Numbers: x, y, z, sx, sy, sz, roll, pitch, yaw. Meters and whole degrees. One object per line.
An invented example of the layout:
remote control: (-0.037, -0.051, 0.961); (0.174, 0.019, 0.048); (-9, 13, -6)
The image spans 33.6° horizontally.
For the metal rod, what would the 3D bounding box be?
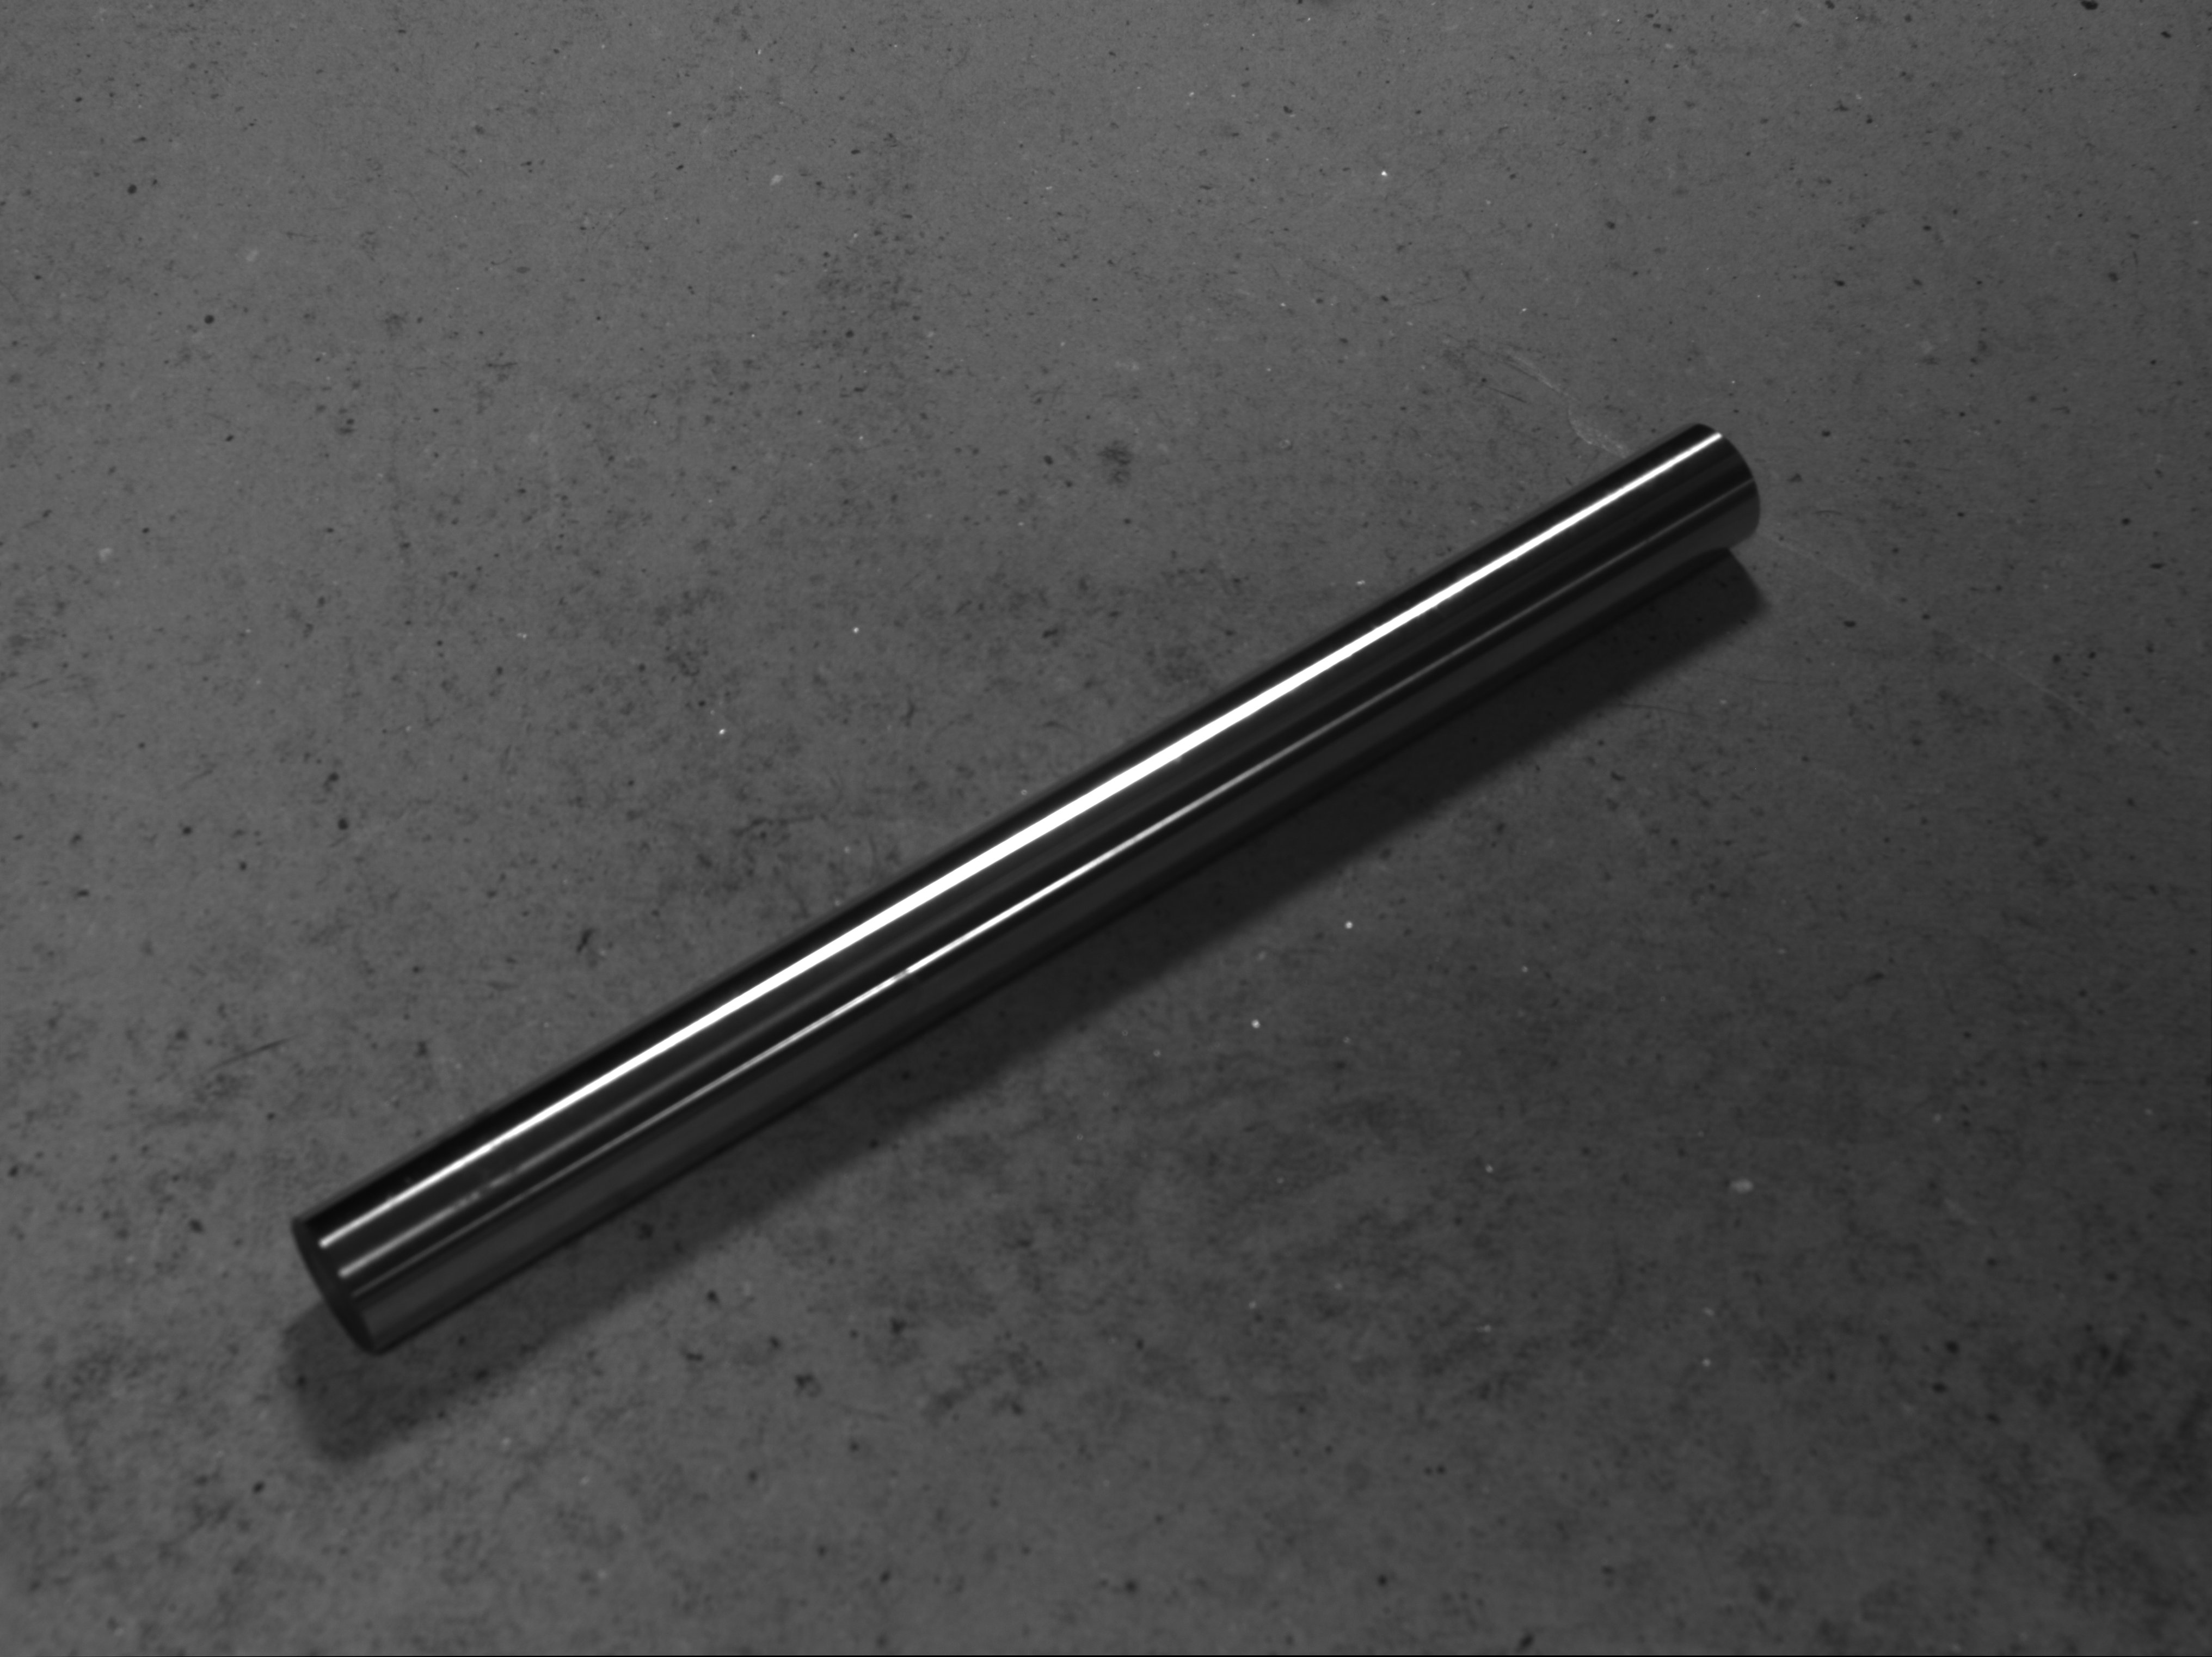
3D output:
metal rod: (-0.001, 0.004, 0.640); (0.300, 0.025, 0.025); (-30, 56, -23)
